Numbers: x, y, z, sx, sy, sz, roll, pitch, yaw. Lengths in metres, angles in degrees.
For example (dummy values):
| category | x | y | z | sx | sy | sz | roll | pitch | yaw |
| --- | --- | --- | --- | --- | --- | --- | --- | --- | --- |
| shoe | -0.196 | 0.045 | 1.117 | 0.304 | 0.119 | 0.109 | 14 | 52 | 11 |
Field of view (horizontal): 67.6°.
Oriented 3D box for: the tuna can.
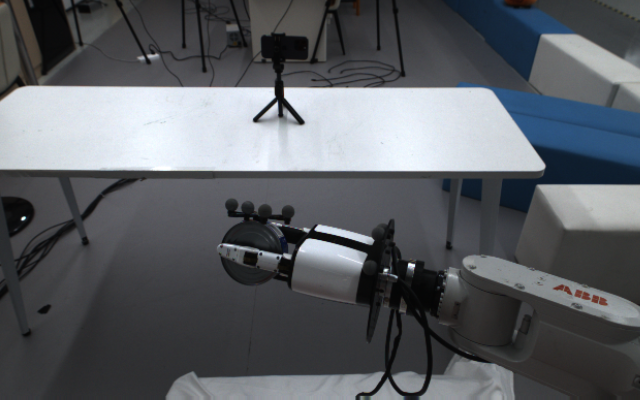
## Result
| category | x | y | z | sx | sy | sz | roll | pitch | yaw |
| --- | --- | --- | --- | --- | --- | --- | --- | --- | --- |
| tuna can | -0.086 | 0.068 | 0.642 | 0.085 | 0.085 | 0.034 | 12 | 2 | 13 |
